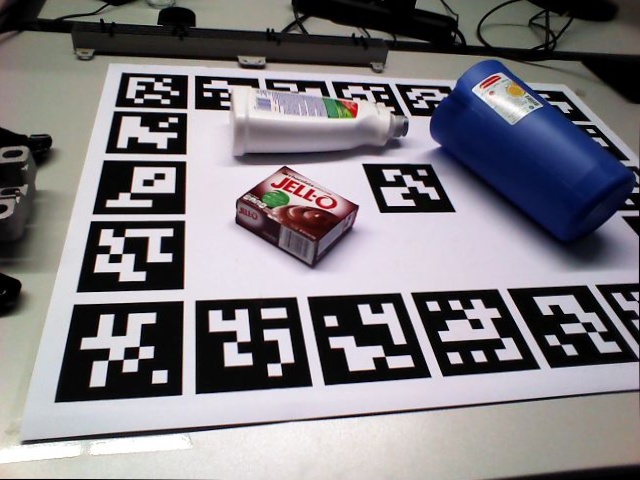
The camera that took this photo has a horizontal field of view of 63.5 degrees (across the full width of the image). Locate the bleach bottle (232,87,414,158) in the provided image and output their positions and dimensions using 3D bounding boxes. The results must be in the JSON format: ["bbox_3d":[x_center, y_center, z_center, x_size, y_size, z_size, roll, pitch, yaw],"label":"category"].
[{"bbox_3d":[0.011,-0.159,0.706,0.250,0.068,0.102,-1,51,-15],"label":"bleach bottle"}]

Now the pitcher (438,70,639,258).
[{"bbox_3d":[0.283,-0.095,0.671,0.188,0.134,0.242,11,37,-53],"label":"pitcher"}]

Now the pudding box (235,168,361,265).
[{"bbox_3d":[-0.025,-0.030,0.581,0.114,0.039,0.089,34,44,19],"label":"pudding box"}]
